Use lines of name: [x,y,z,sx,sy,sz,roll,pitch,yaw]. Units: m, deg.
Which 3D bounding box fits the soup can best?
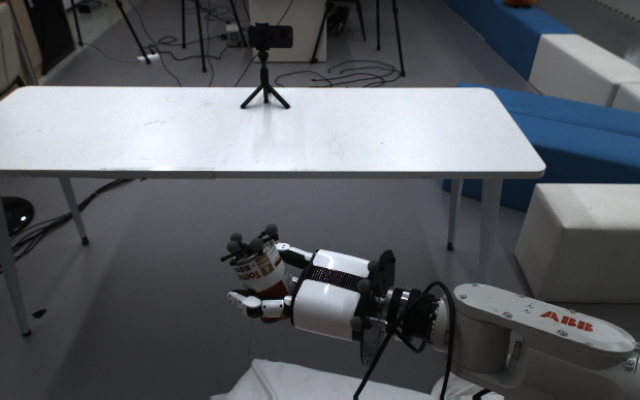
soup can: [-0.074,0.116,0.694,0.067,0.101,0.067,-24,16,7]
